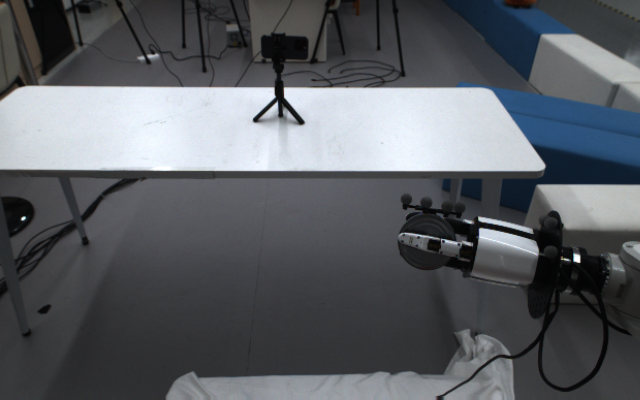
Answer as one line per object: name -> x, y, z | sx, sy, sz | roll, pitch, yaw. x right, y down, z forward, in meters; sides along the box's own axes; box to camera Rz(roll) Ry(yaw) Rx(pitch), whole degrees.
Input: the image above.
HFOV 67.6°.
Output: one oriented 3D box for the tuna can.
tuna can -> 0.164, 0.059, 0.735 | 0.085, 0.085, 0.034 | 11, 2, 12
